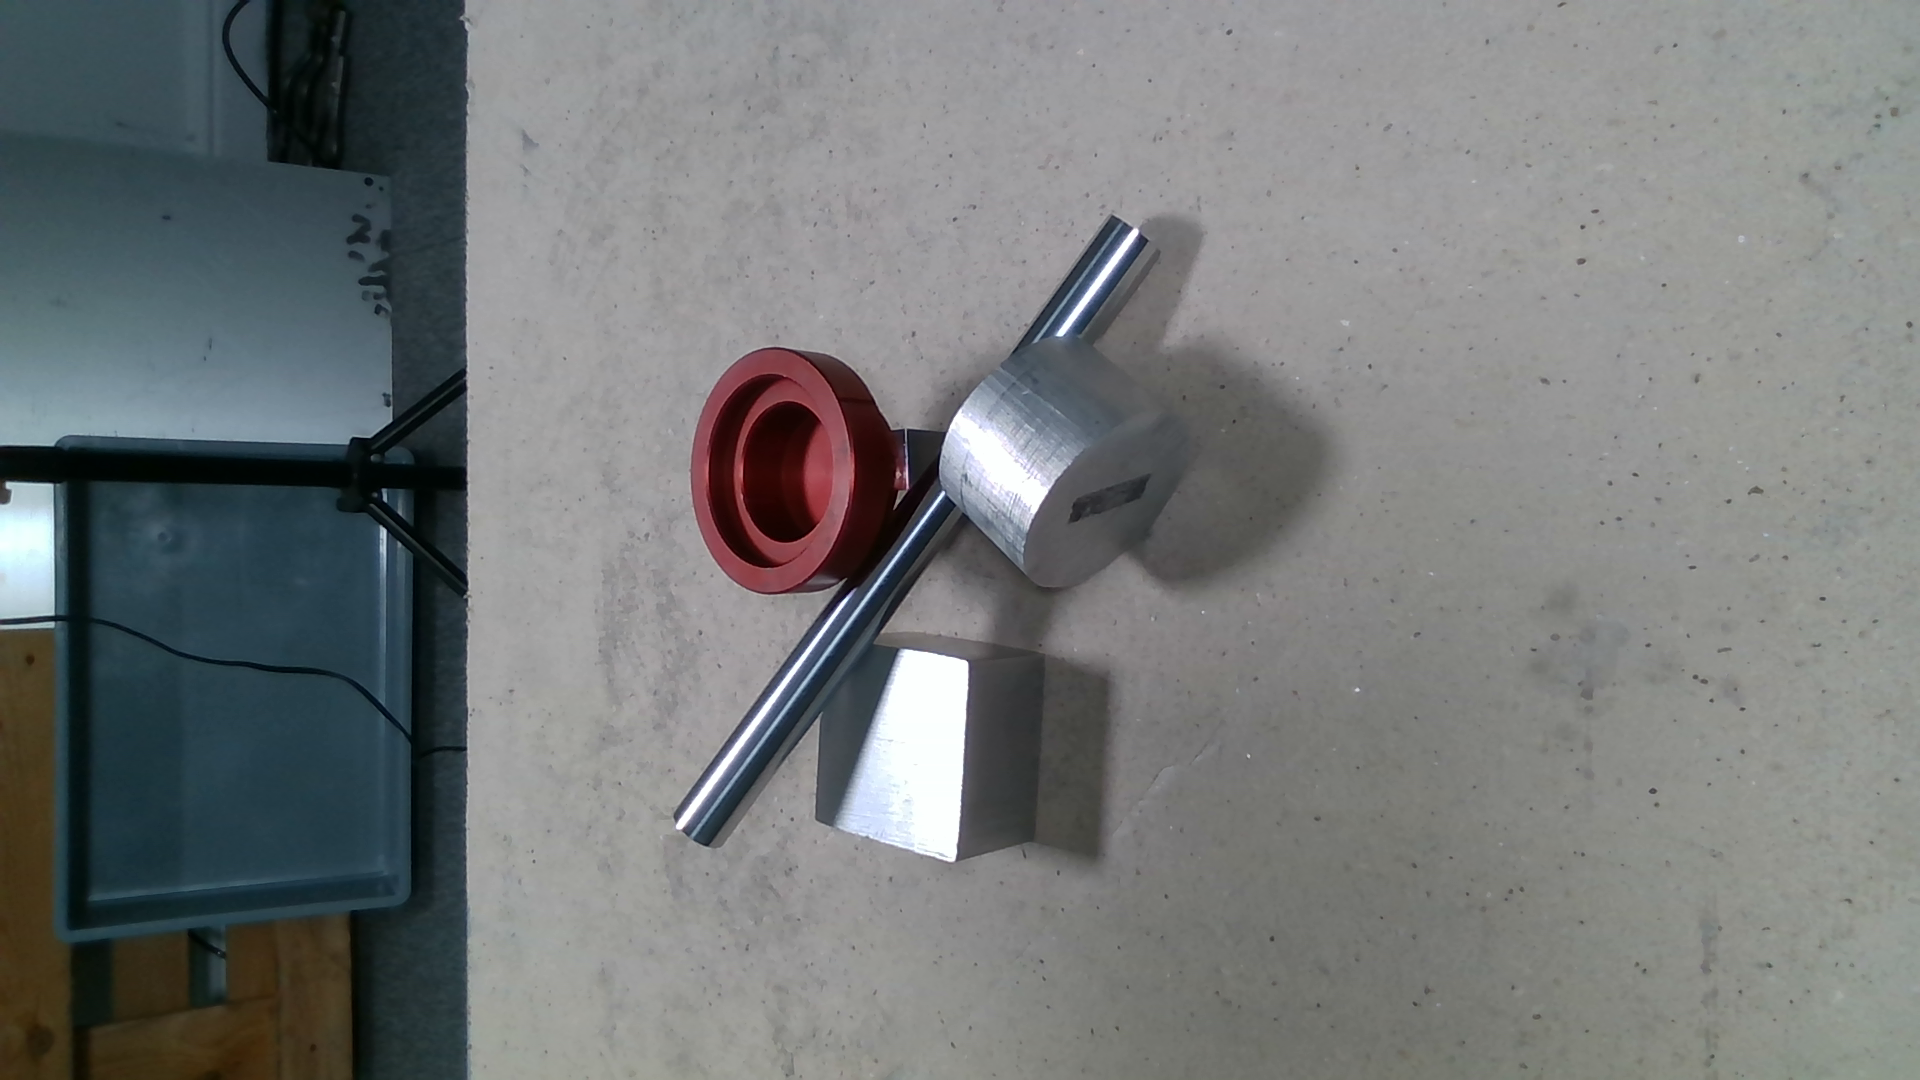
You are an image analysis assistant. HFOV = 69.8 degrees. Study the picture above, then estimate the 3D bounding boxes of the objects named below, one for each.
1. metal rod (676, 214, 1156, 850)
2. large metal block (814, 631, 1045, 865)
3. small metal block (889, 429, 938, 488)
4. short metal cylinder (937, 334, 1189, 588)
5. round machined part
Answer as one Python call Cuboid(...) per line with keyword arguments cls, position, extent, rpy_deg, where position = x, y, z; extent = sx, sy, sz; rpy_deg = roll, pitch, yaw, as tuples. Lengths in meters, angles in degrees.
Cuboid(cls="metal rod", position=(-0.022, 0.002, 0.552), extent=(0.025, 0.025, 0.300), rpy_deg=(42, 102, 32))
Cuboid(cls="large metal block", position=(-0.014, 0.084, 0.578), extent=(0.080, 0.050, 0.080), rpy_deg=(6, 94, 40))
Cuboid(cls="small metal block", position=(-0.025, -0.031, 0.587), extent=(0.050, 0.050, 0.025), rpy_deg=(-3, 88, 40))
Cuboid(cls="short metal cylinder", position=(0.038, -0.029, 0.513), extent=(0.050, 0.080, 0.080), rpy_deg=(45, 117, 31))
Cuboid(cls="round machined part", position=(-0.063, -0.027, 0.560), extent=(0.098, 0.042, 0.098), rpy_deg=(0, 91, 42))
